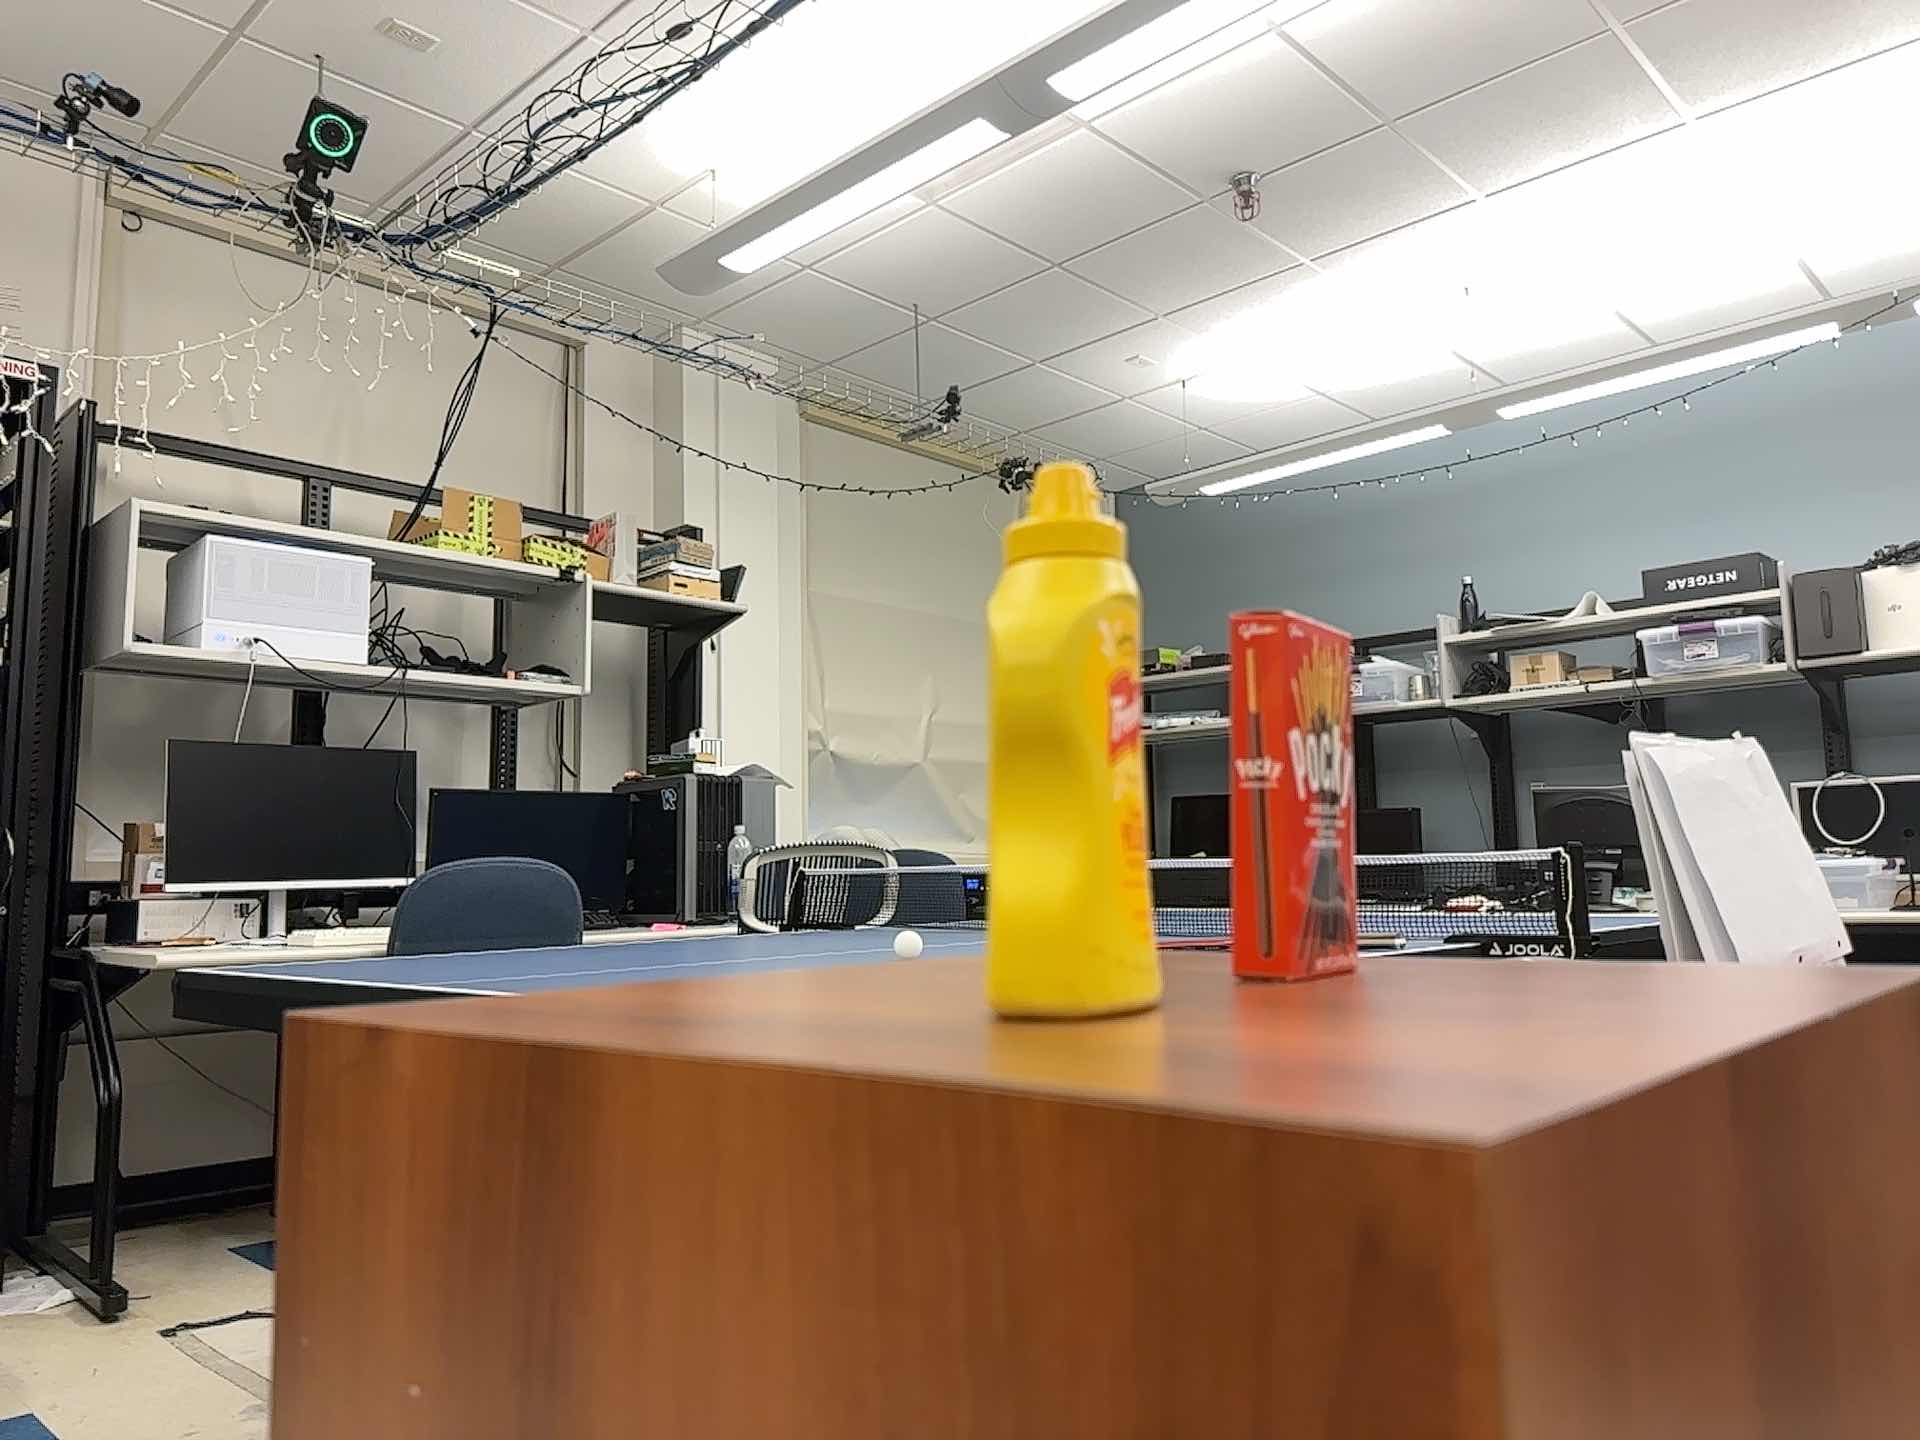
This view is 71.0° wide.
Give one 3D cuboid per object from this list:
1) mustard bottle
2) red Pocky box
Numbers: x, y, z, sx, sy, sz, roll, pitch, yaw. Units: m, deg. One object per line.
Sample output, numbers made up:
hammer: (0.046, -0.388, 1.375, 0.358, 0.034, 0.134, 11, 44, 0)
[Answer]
mustard bottle: (0.035, 0.001, 0.437, 0.054, 0.184, 0.092, -4, -9, 25)
red Pocky box: (0.143, 0.034, 0.568, 0.028, 0.155, 0.082, -6, -9, 38)
